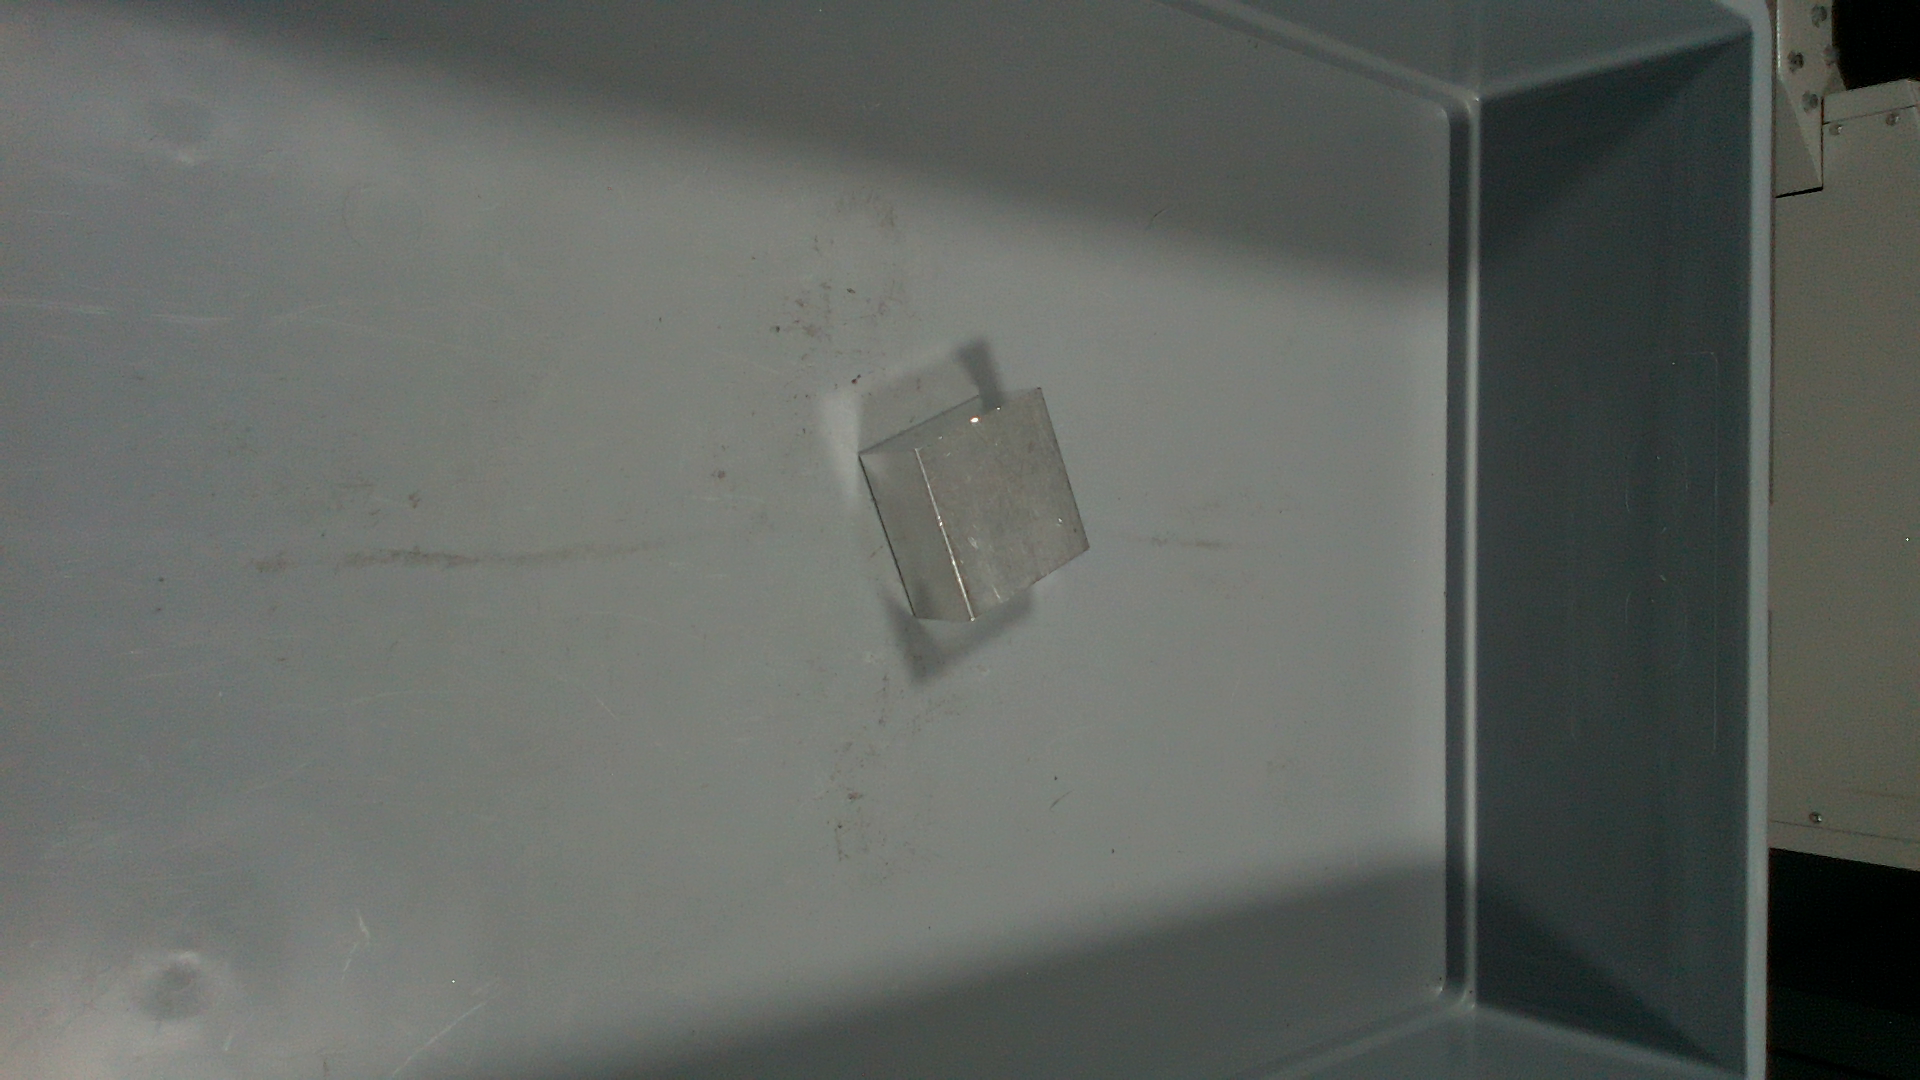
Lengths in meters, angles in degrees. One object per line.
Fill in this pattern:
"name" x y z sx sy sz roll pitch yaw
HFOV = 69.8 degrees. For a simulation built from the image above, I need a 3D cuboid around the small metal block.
"small metal block" 0.005 -0.011 0.389 0.050 0.025 0.050 -29 108 -36
